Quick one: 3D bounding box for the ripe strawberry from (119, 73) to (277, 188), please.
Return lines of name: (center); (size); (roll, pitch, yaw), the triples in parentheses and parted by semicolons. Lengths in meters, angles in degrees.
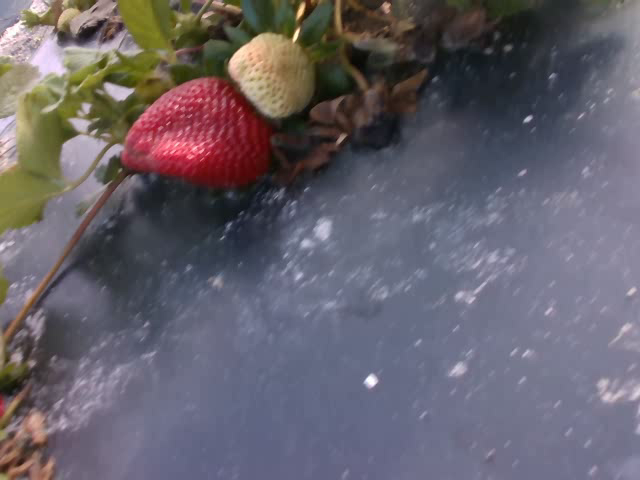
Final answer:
ripe strawberry: (-0.052, -0.042, 0.242); (0.070, 0.058, 0.057); (-22, -28, -40)
